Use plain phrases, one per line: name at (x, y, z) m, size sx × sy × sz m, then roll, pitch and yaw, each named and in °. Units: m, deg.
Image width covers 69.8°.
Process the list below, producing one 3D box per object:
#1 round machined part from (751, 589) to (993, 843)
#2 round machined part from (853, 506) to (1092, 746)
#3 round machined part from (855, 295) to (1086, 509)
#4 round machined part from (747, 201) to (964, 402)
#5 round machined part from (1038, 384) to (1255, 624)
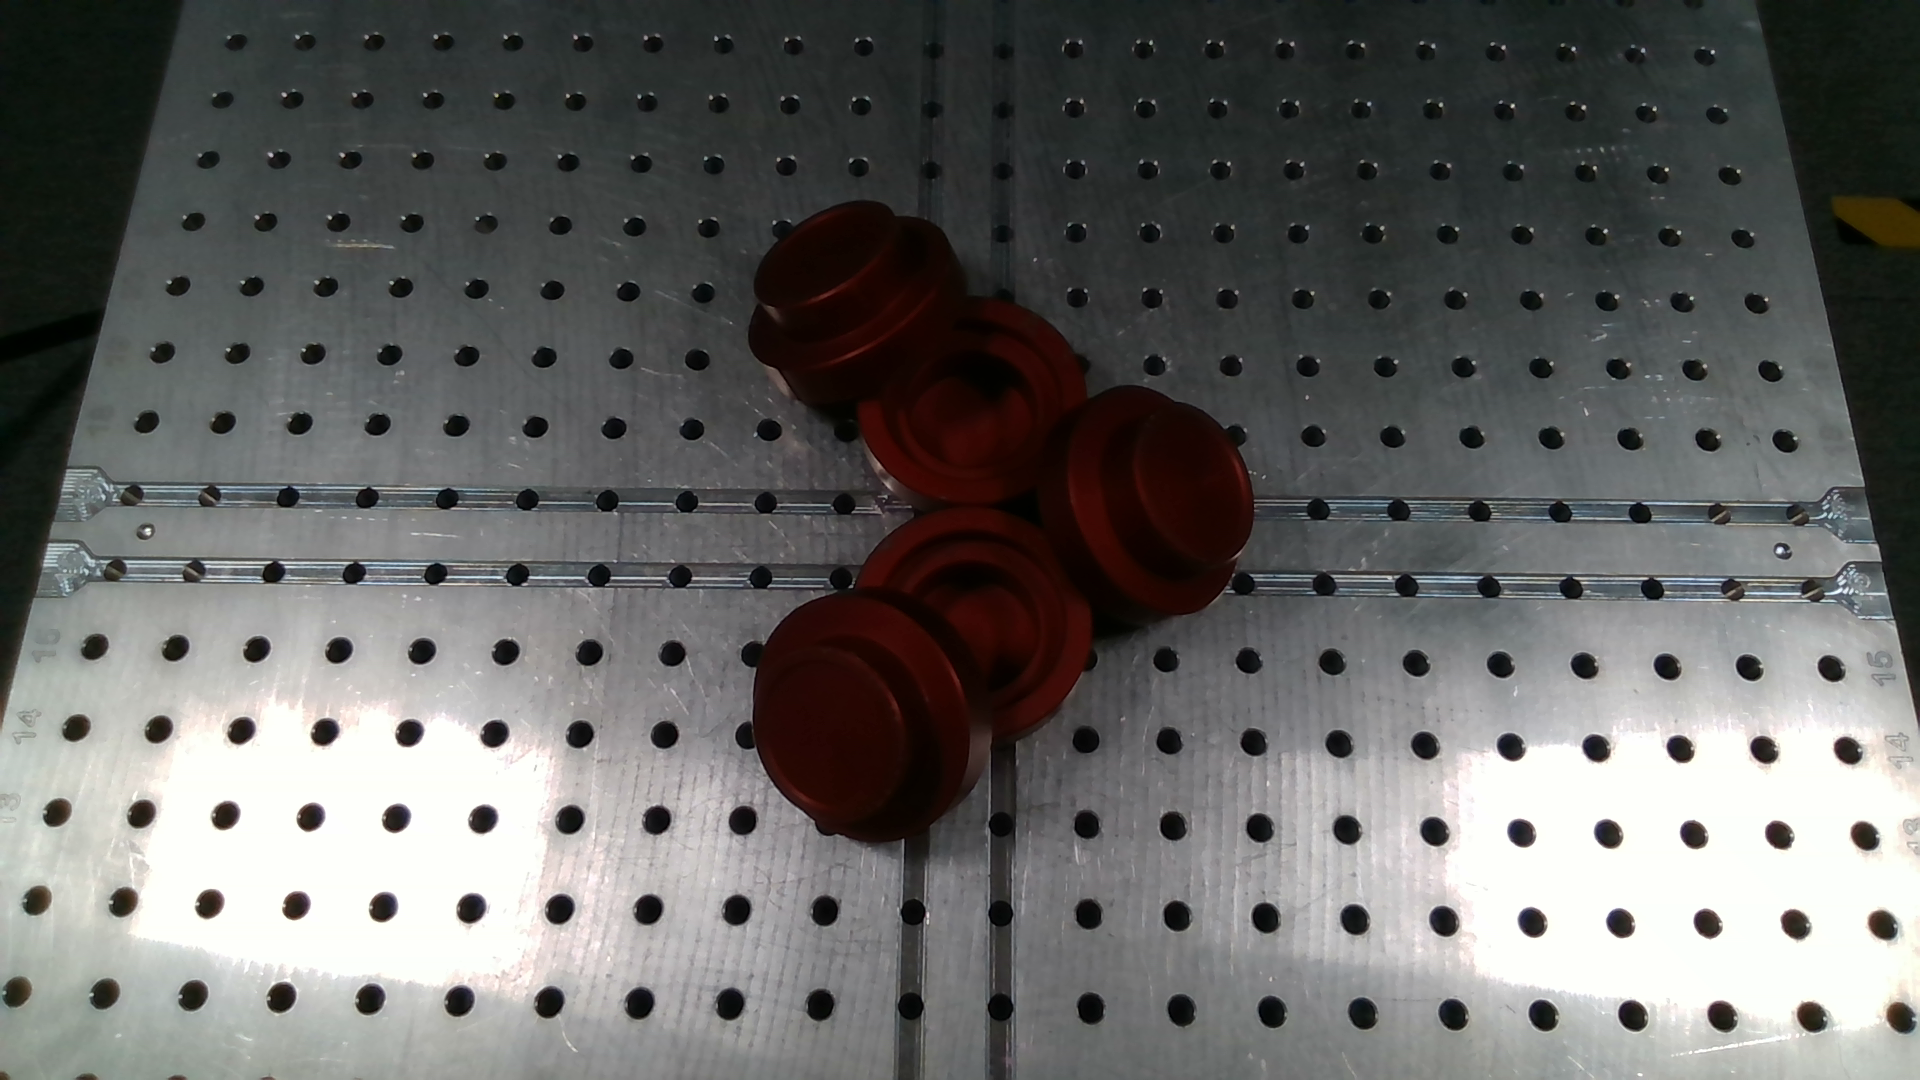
round machined part at (-0.040, 0.069, 0.528) m, size 0.098 × 0.042 × 0.098 m, roll 4°, pitch 99°, yaw 26°
round machined part at (0.004, 0.039, 0.568) m, size 0.098 × 0.042 × 0.098 m, roll 0°, pitch 70°, yaw 0°
round machined part at (0.005, -0.054, 0.600) m, size 0.098 × 0.042 × 0.098 m, roll 0°, pitch 70°, yaw 0°
round machined part at (-0.050, -0.109, 0.596) m, size 0.098 × 0.042 × 0.098 m, roll -18°, pitch 43°, yaw 17°
round machined part at (0.082, -0.018, 0.561) m, size 0.098 × 0.042 × 0.098 m, roll 15°, pitch 66°, yaw -35°
